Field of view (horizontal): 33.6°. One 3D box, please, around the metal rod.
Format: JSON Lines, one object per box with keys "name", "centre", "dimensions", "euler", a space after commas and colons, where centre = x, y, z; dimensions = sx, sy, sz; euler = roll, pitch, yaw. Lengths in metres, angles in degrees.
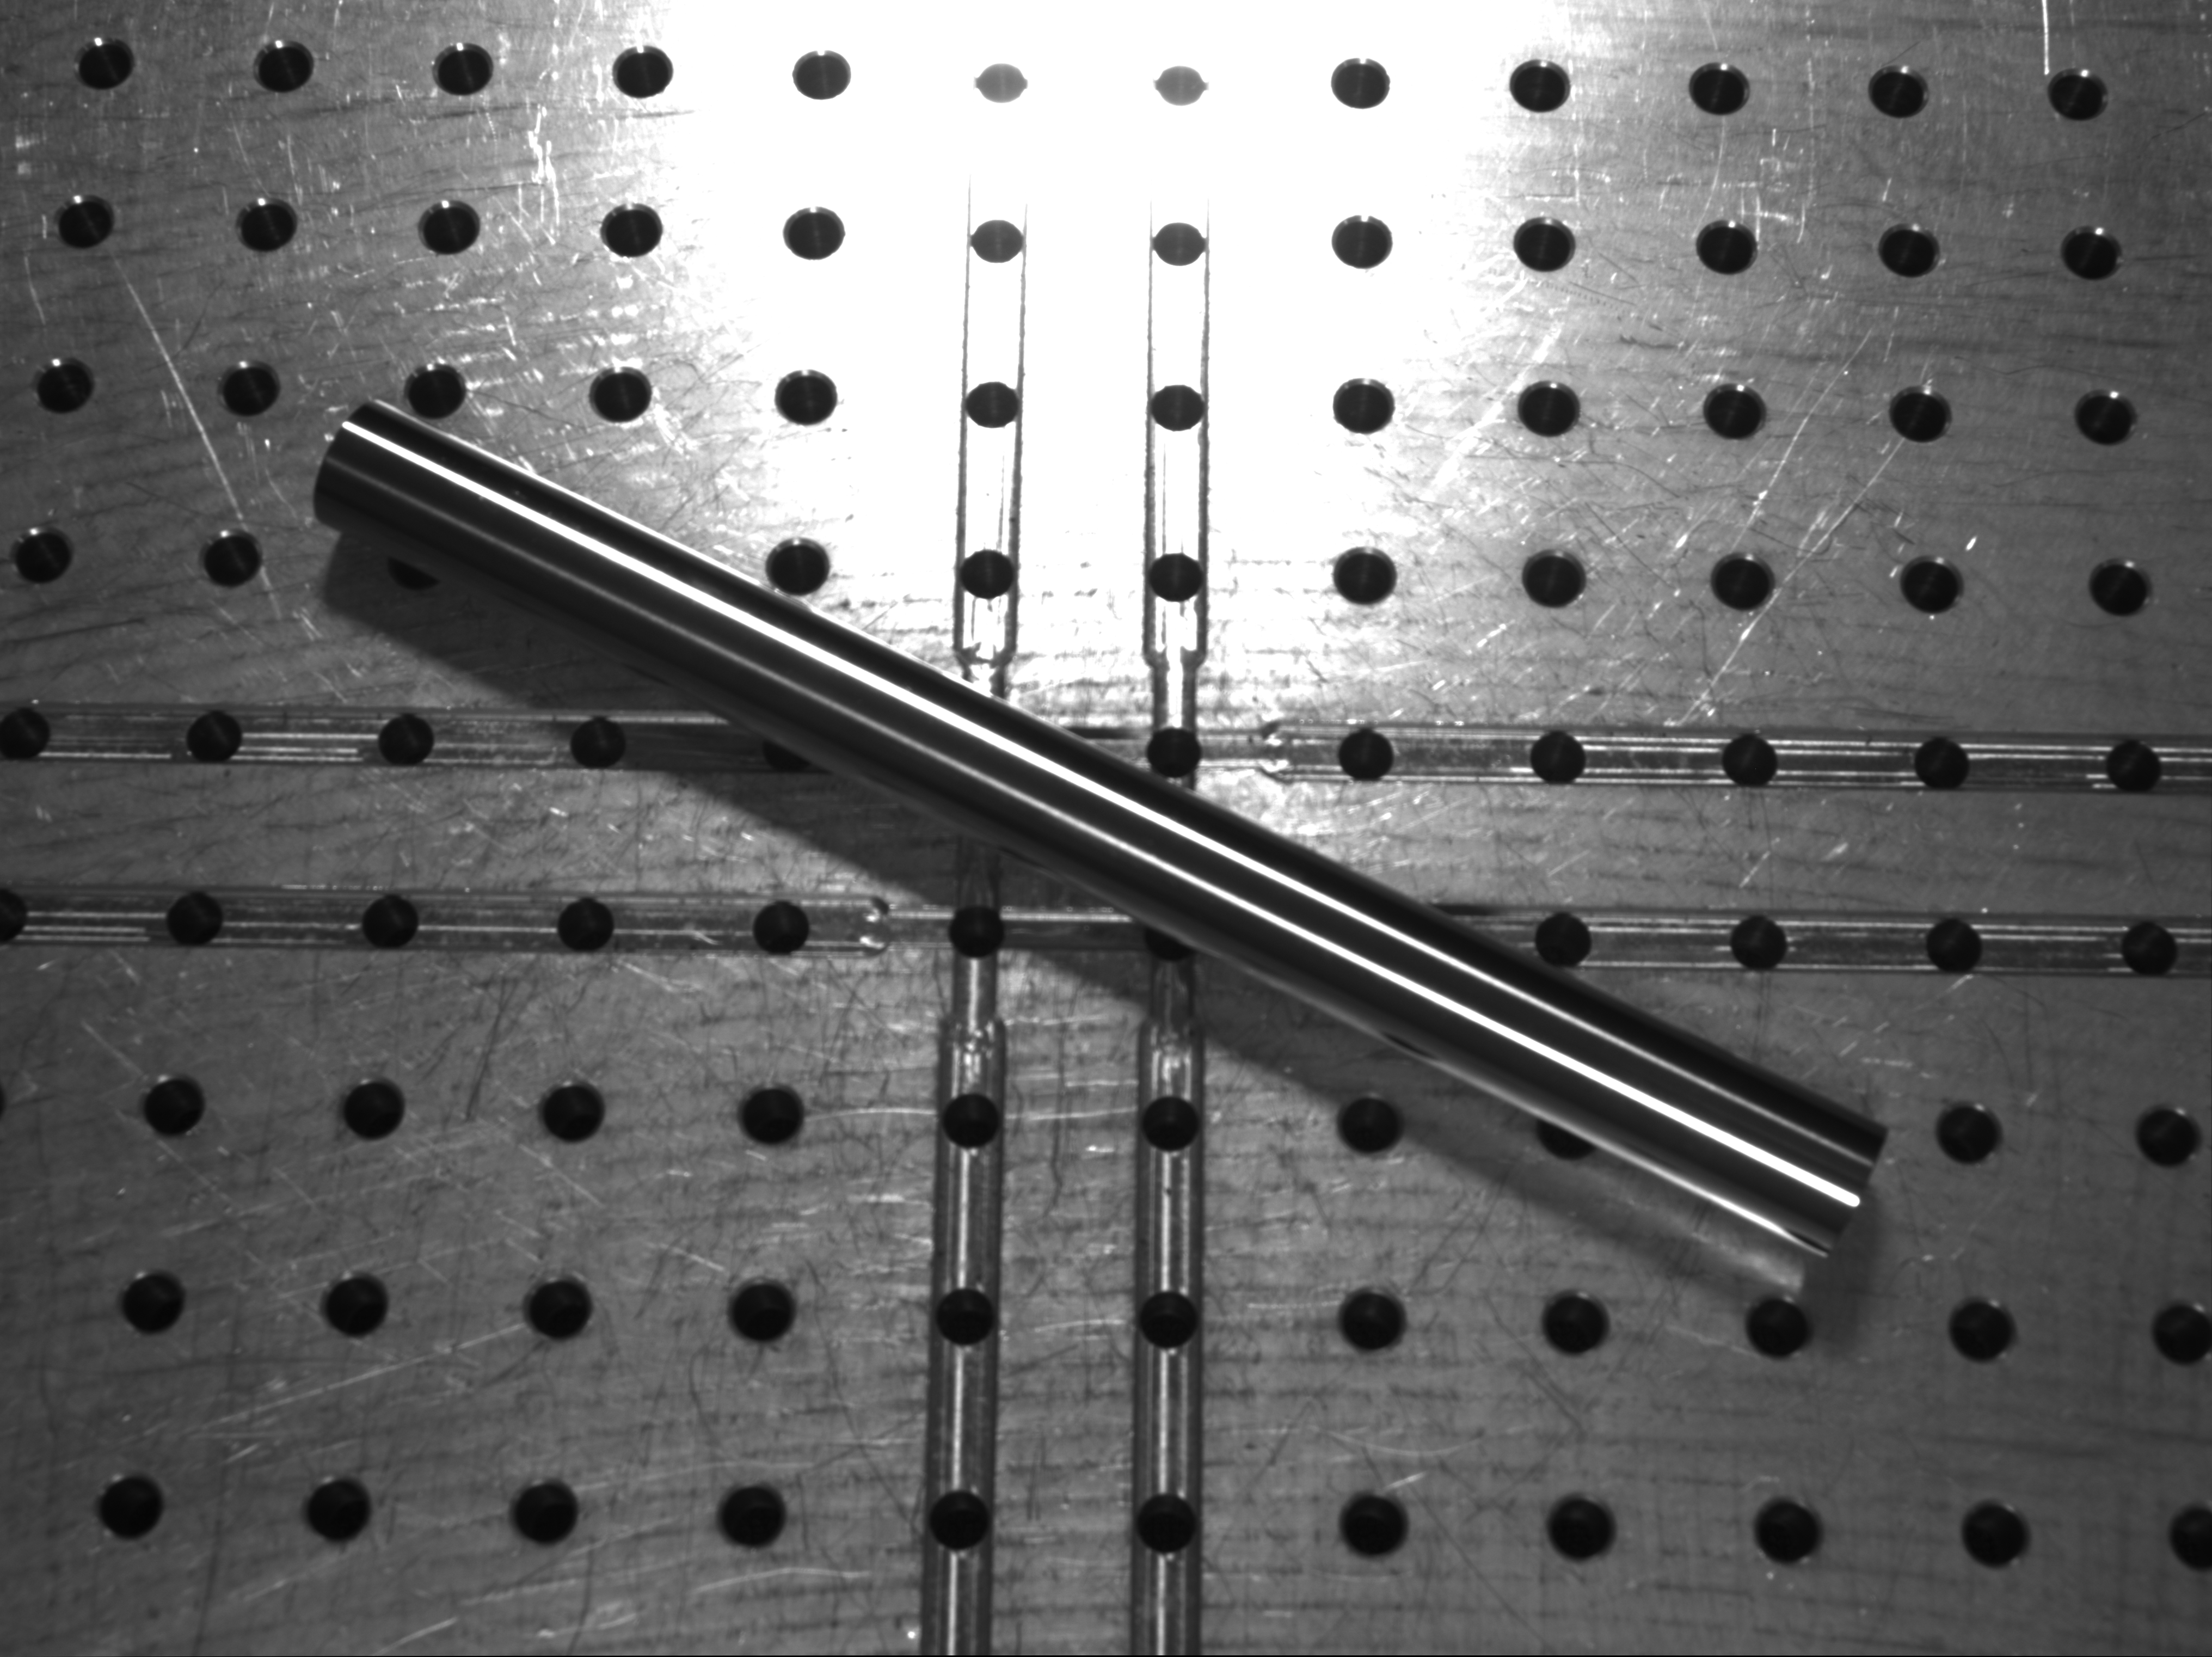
{"name": "metal rod", "centre": [-0.001, -0.002, 0.648], "dimensions": [0.300, 0.025, 0.025], "euler": [26, 72, 9]}
